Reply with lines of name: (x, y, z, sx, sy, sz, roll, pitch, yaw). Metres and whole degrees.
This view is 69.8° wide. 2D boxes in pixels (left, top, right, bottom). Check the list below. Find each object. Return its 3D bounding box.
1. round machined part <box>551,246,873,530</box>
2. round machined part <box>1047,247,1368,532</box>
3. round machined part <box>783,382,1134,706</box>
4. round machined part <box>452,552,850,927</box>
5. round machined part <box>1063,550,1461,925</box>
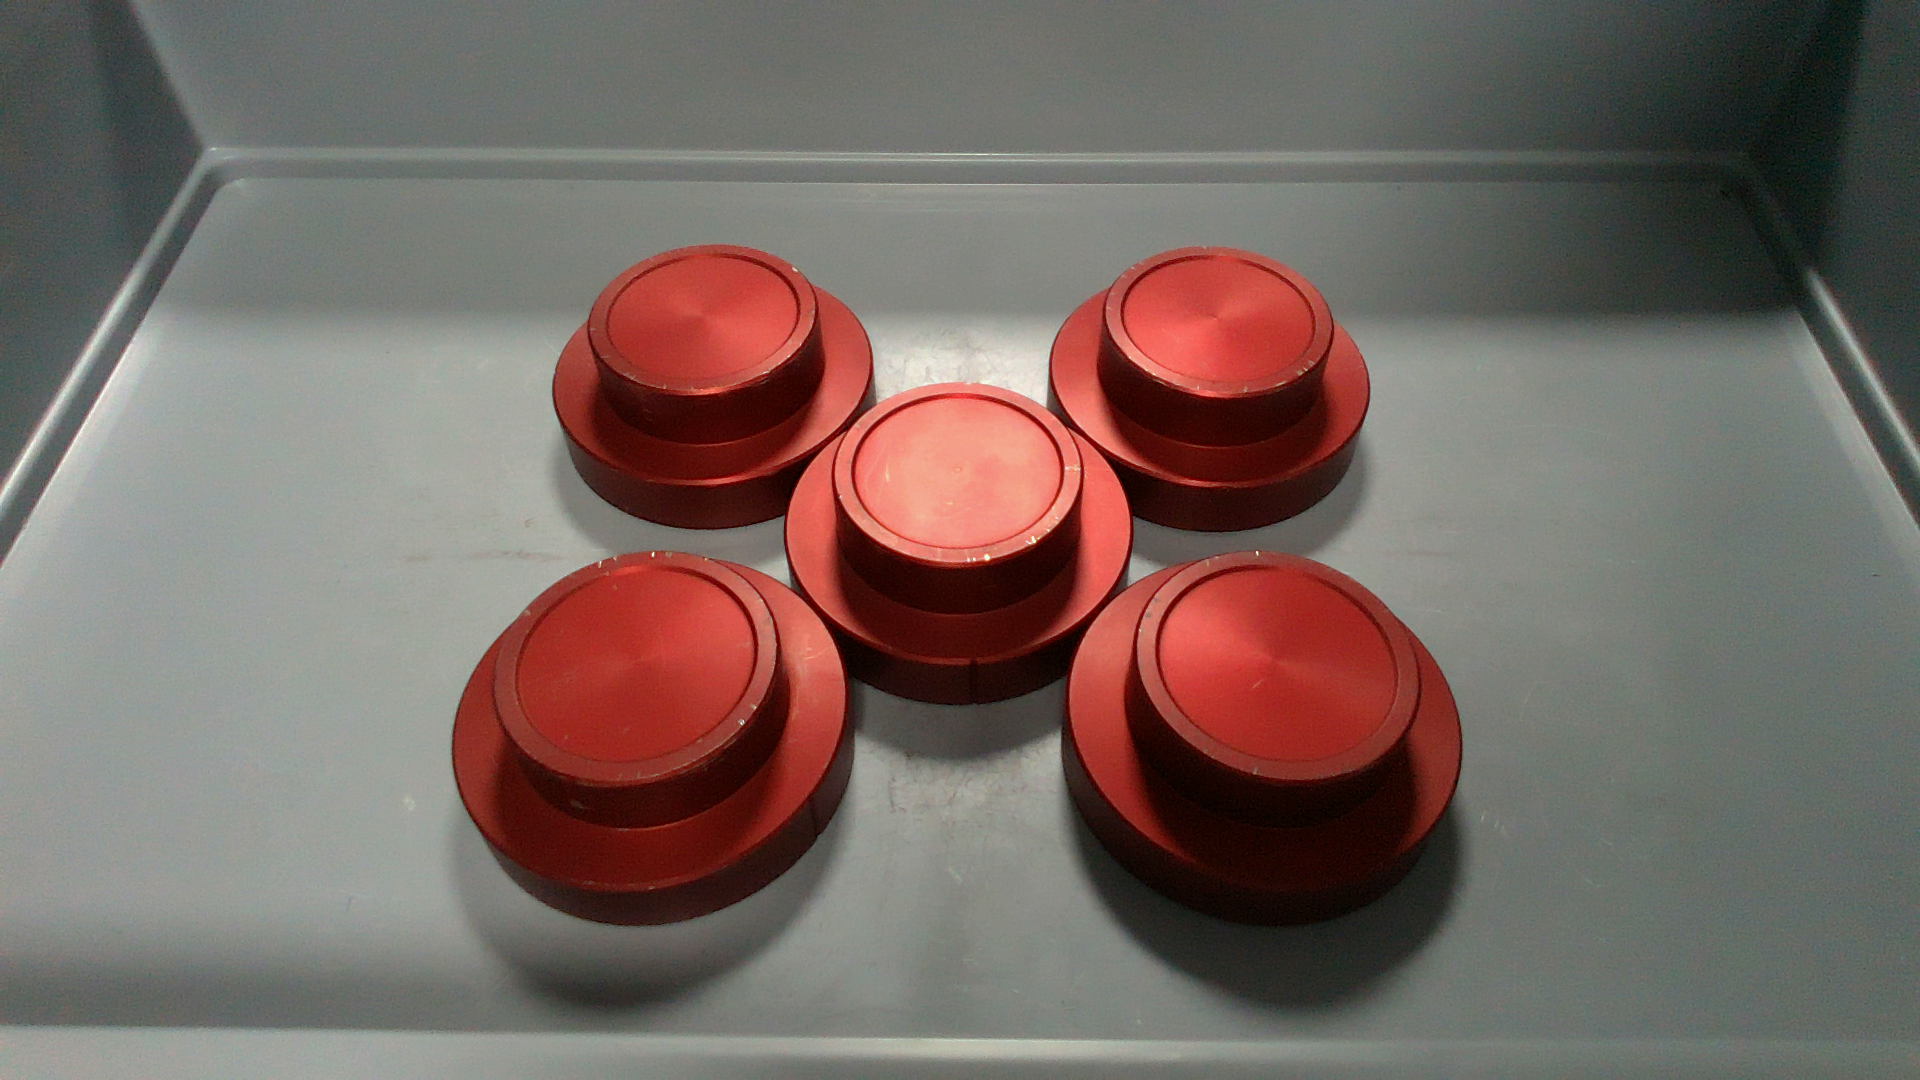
round machined part: (-0.076, -0.053, 0.424, 0.098, 0.042, 0.098, 0, 50, 0)
round machined part: (0.076, -0.053, 0.424, 0.098, 0.042, 0.098, 0, 50, 0)
round machined part: (0.000, -0.006, 0.383, 0.098, 0.042, 0.098, 0, 50, 0)
round machined part: (-0.077, 0.042, 0.344, 0.098, 0.042, 0.098, 0, 50, 0)
round machined part: (0.076, 0.042, 0.344, 0.098, 0.042, 0.098, 0, 50, 0)
